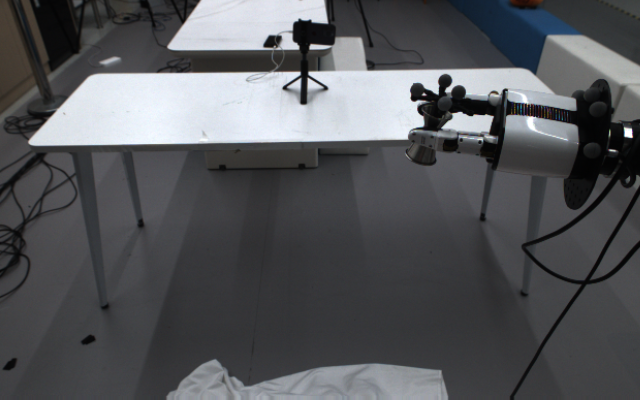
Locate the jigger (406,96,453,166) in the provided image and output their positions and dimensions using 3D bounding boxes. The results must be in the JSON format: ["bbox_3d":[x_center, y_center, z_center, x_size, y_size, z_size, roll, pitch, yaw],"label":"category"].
[{"bbox_3d":[0.141,-0.085,0.636,0.043,0.071,0.043,10,35,-7],"label":"jigger"}]
